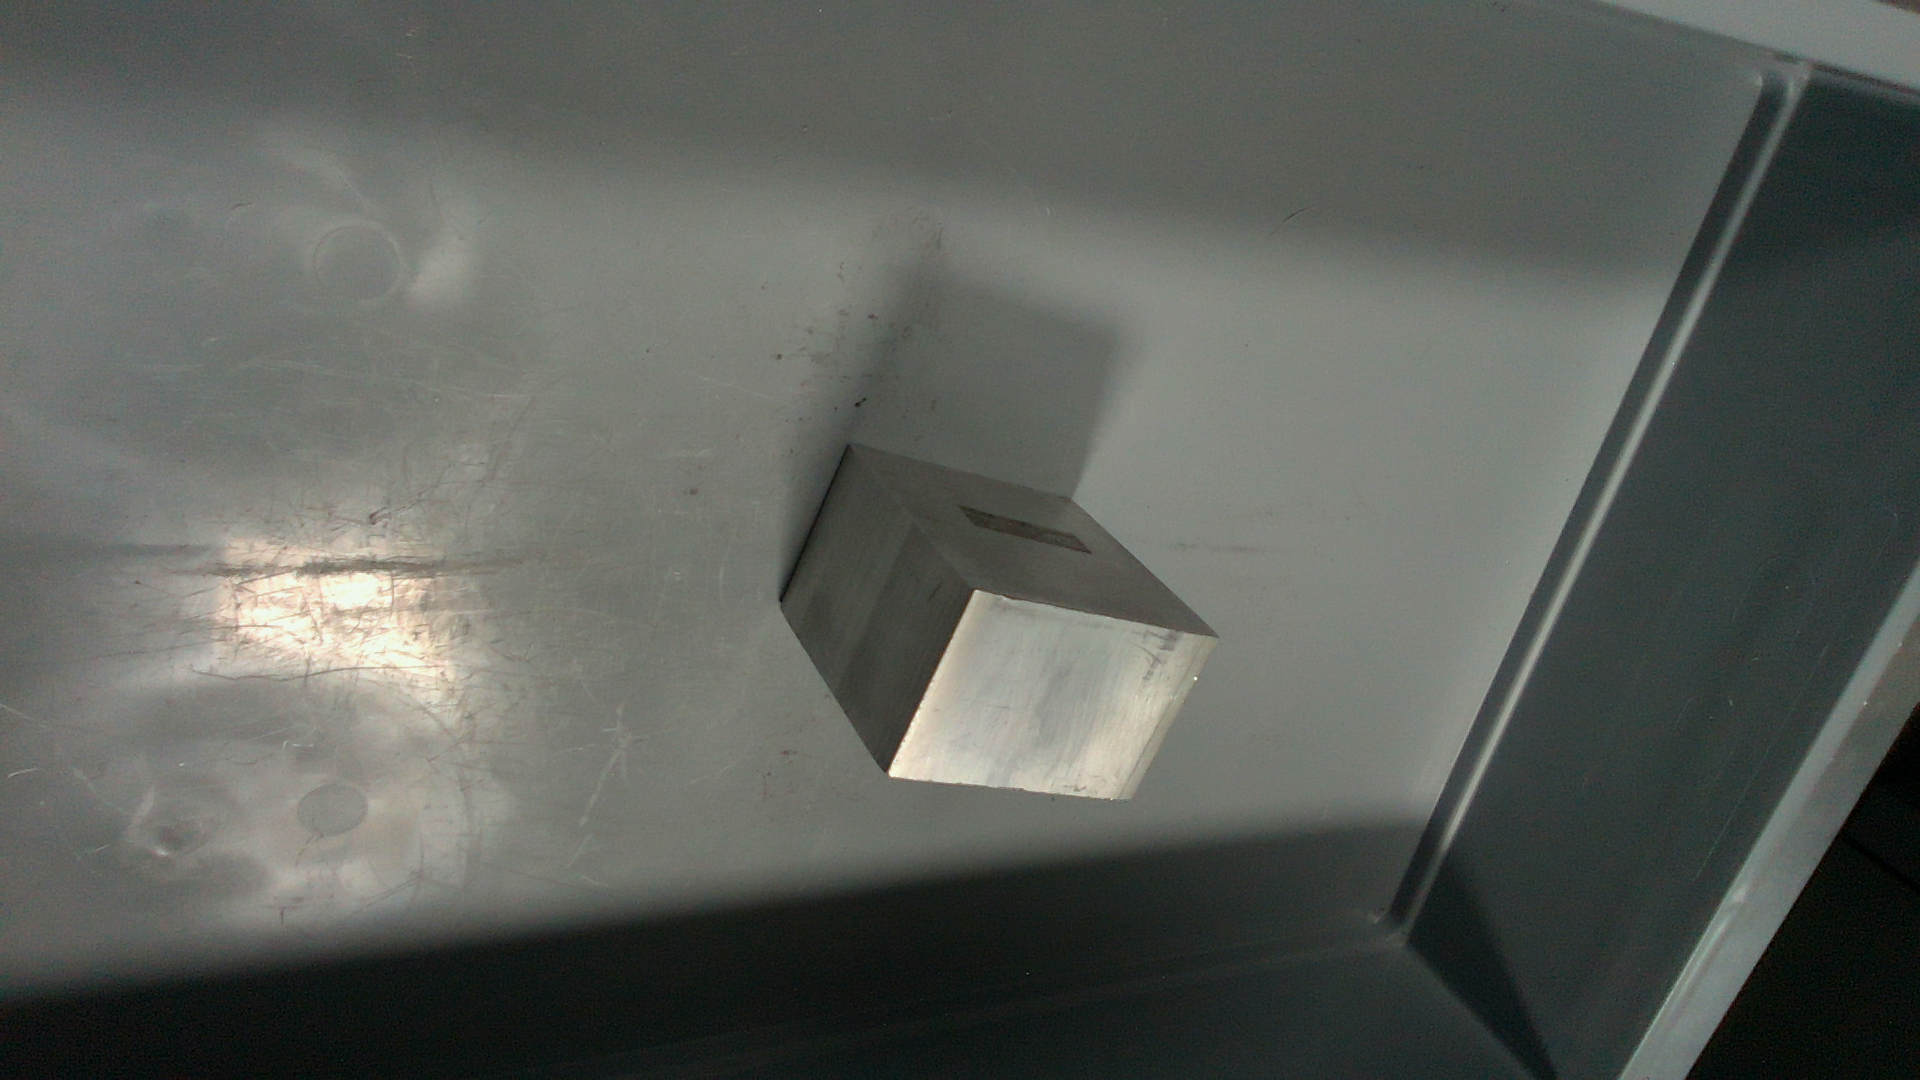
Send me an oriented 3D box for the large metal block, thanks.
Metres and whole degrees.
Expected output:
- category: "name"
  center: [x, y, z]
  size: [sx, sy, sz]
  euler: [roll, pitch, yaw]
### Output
- category: "large metal block"
  center: [0.009, 0.022, 0.370]
  size: [0.080, 0.080, 0.050]
  euler: [13, 112, -33]
